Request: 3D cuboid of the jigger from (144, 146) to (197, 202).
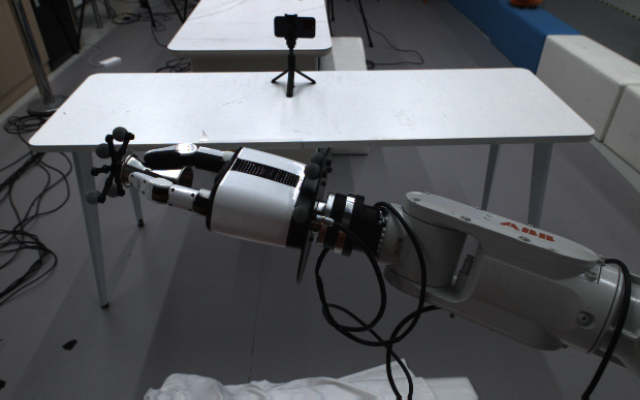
[{"bbox_3d":[-0.180,-0.027,0.554,0.071,0.043,0.043,14,36,5],"label":"jigger"}]
